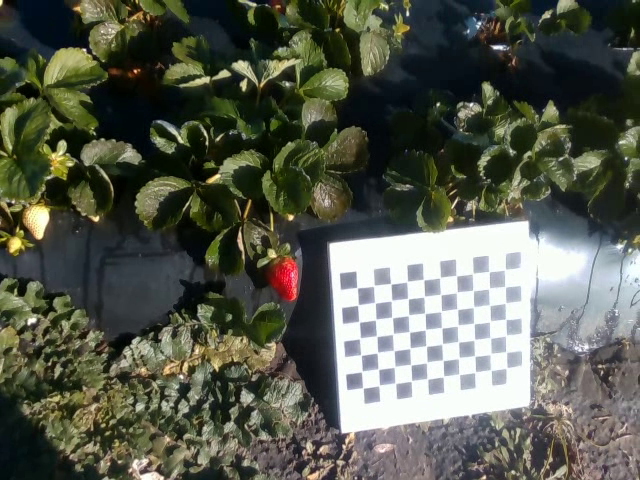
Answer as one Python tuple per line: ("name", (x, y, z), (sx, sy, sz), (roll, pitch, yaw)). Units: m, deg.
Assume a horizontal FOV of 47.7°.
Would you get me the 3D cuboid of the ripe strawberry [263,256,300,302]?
("ripe strawberry", (-0.047, 0.054, 0.933), (0.048, 0.069, 0.040), (-24, 7, -6))
